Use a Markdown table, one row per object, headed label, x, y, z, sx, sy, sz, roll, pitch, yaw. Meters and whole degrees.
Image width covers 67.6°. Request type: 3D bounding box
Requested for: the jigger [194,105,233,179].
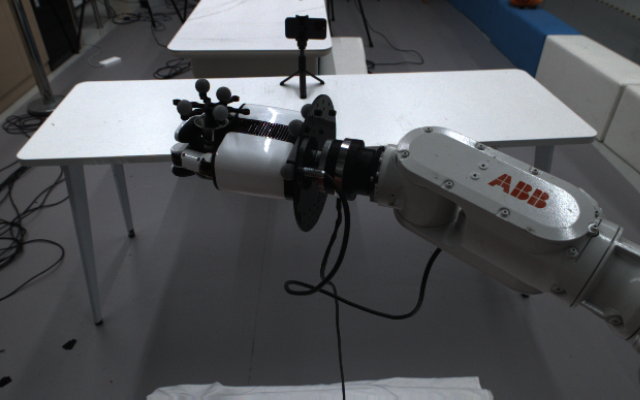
| label | x | y | z | sx | sy | sz | roll | pitch | yaw |
| --- | --- | --- | --- | --- | --- | --- | --- | --- | --- |
| jigger | -0.129 | -0.063 | 0.588 | 0.043 | 0.071 | 0.043 | 6 | 32 | -4 |
